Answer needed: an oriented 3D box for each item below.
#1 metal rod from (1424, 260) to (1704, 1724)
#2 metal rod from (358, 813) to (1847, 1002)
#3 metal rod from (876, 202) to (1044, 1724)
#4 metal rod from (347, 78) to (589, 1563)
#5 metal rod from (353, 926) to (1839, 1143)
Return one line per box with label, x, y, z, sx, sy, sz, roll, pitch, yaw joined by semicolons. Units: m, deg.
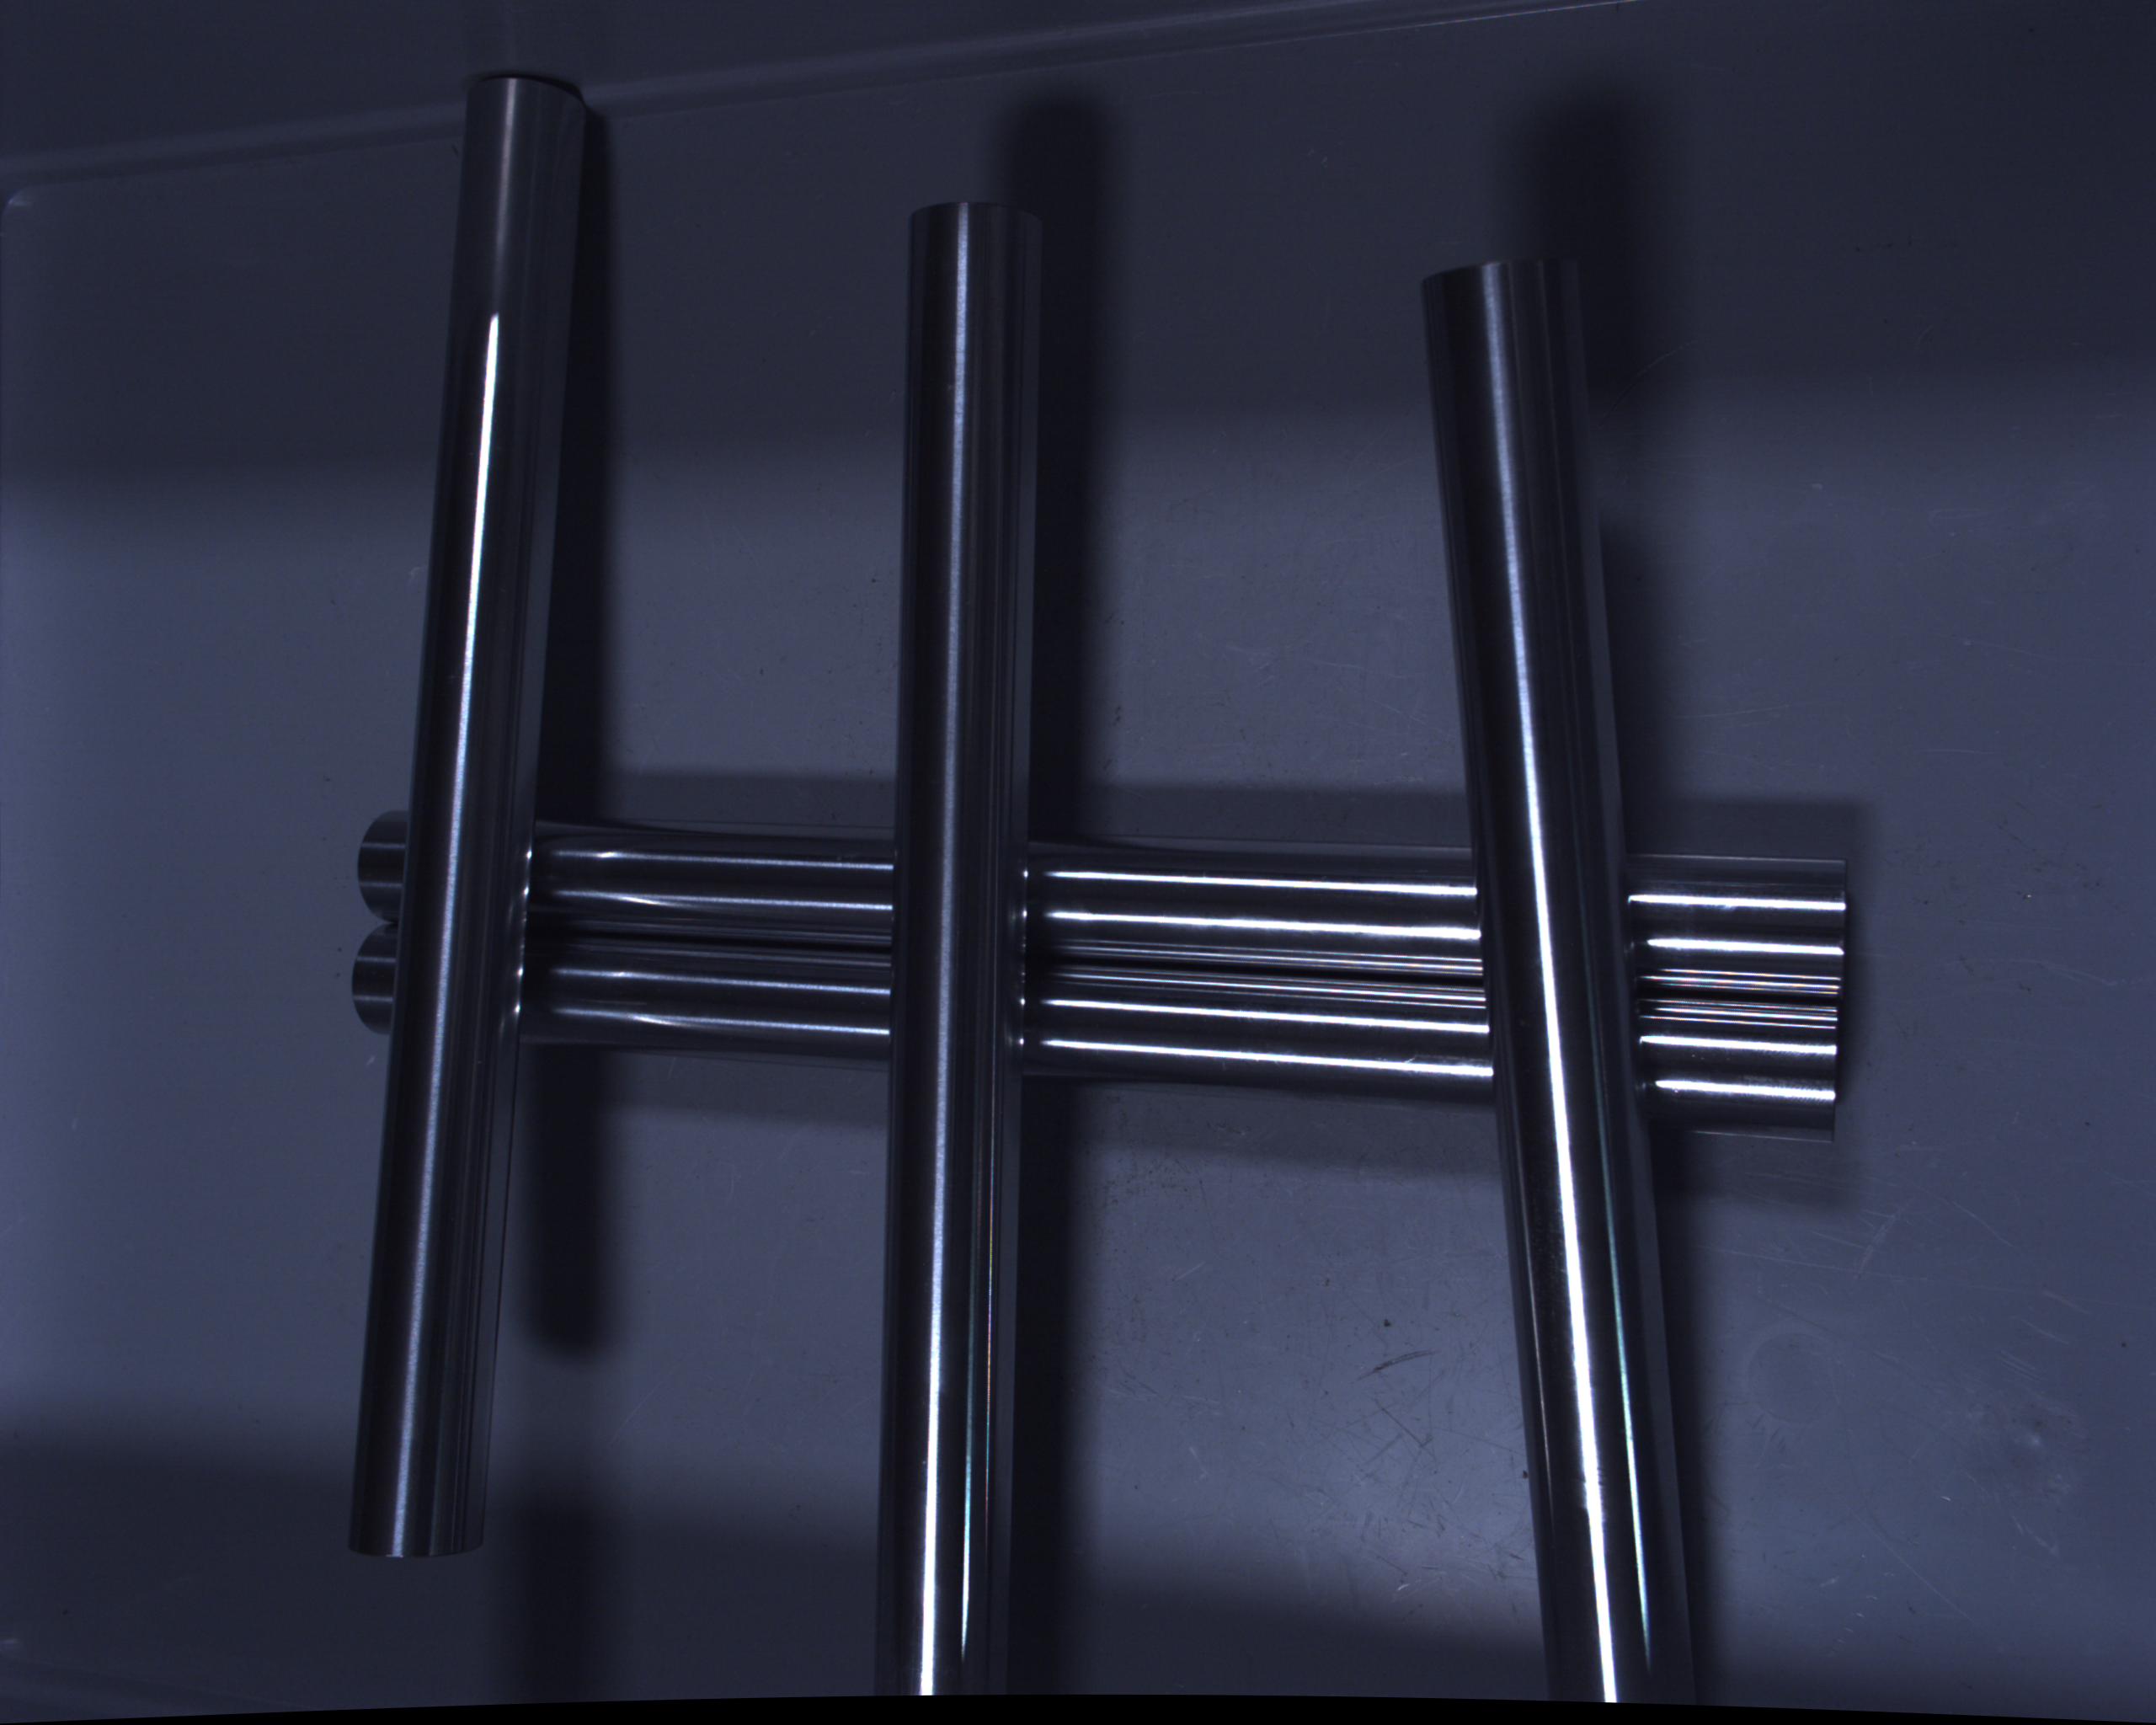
metal rod;0.086;0.052;0.355;0.025;0.025;0.298;-4;97;19
metal rod;-0.009;0.007;0.412;0.301;0.025;0.025;2;91;19
metal rod;-0.022;0.030;0.390;0.025;0.025;0.298;2;91;19
metal rod;-0.123;-0.014;0.426;0.025;0.025;0.298;-1;81;19
metal rod;-0.010;0.031;0.412;0.301;0.025;0.025;2;91;19
